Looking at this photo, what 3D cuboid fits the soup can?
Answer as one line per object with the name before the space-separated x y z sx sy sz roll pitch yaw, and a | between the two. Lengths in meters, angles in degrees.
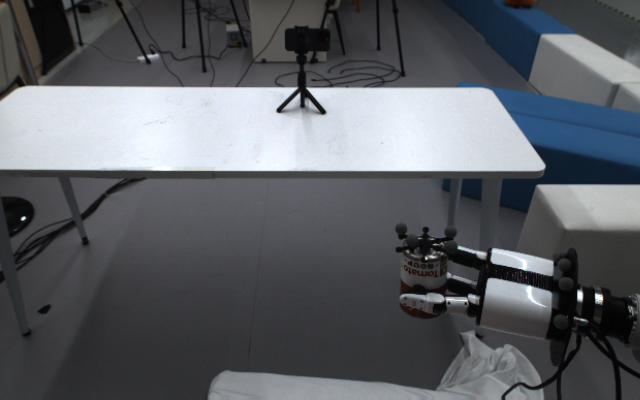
soup can | 0.153 0.109 0.702 0.067 0.101 0.067 -4 27 2
